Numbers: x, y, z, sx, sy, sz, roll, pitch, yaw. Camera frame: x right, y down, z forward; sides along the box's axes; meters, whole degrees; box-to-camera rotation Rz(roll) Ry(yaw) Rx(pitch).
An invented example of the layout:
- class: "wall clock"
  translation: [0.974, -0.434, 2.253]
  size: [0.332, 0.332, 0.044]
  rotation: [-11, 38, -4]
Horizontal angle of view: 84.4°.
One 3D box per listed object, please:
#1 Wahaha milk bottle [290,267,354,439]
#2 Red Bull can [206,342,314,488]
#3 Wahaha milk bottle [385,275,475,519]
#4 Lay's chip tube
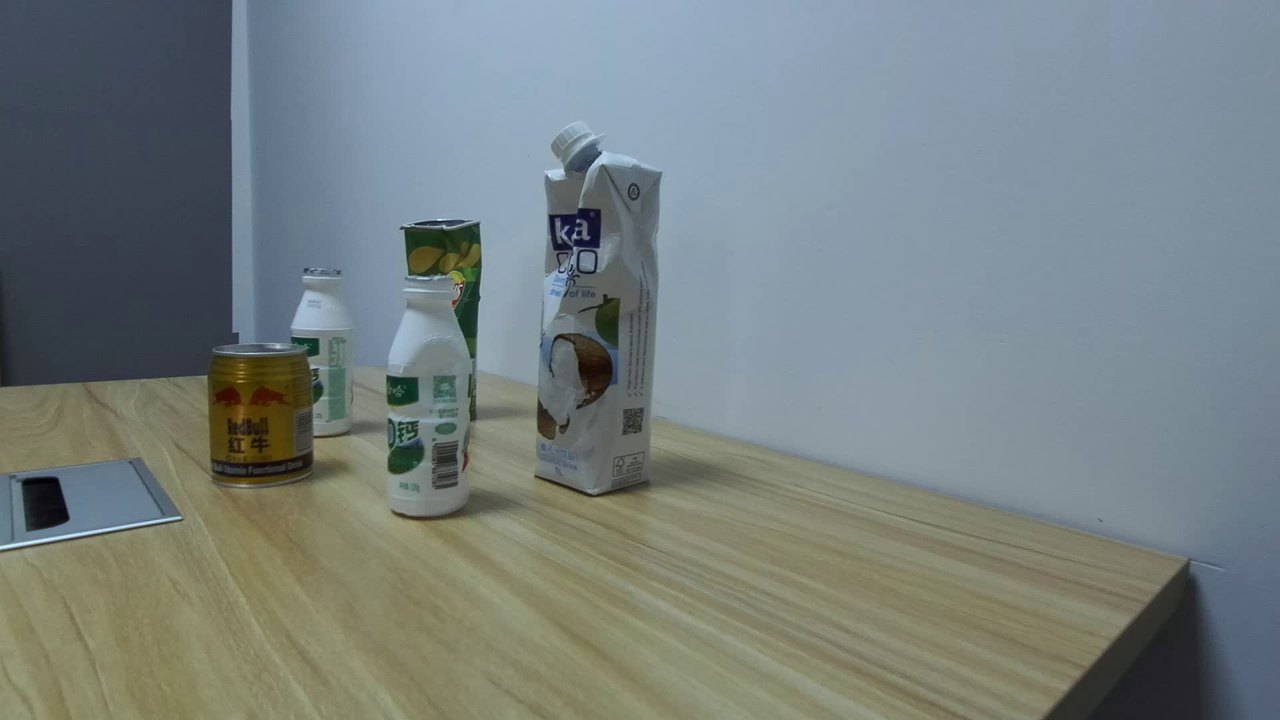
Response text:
- class: "Wahaha milk bottle"
  translation: [-0.288, -0.008, 0.636]
  size: [0.053, 0.147, 0.053]
  rotation: [3, 7, 0]
- class: "Red Bull can"
  translation: [-0.269, 0.038, 0.503]
  size: [0.067, 0.093, 0.067]
  rotation: [2, 8, 0]
- class: "Wahaha milk bottle"
  translation: [-0.136, 0.022, 0.450]
  size: [0.055, 0.149, 0.055]
  rotation: [2, 8, 0]
- class: "Lay's chip tube"
  translation: [-0.200, -0.042, 0.718]
  size: [0.077, 0.201, 0.069]
  rotation: [-1, 8, -14]
